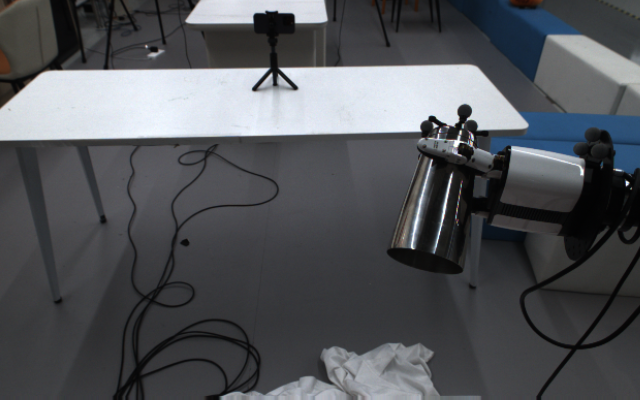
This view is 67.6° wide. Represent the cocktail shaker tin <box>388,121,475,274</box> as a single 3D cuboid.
[{"bbox_3d":[0.151,-0.006,0.607,0.093,0.093,0.170,13,72,15],"label":"cocktail shaker tin"}]
